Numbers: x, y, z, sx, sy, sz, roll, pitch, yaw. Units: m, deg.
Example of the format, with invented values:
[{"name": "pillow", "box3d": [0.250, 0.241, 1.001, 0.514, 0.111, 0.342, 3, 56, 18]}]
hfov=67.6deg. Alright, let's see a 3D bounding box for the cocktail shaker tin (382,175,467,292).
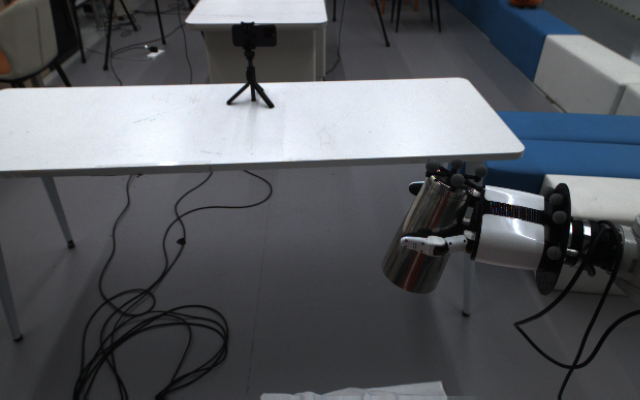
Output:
[{"name": "cocktail shaker tin", "box3d": [0.164, 0.040, 0.715, 0.093, 0.170, 0.093, 12, 29, -7]}]
